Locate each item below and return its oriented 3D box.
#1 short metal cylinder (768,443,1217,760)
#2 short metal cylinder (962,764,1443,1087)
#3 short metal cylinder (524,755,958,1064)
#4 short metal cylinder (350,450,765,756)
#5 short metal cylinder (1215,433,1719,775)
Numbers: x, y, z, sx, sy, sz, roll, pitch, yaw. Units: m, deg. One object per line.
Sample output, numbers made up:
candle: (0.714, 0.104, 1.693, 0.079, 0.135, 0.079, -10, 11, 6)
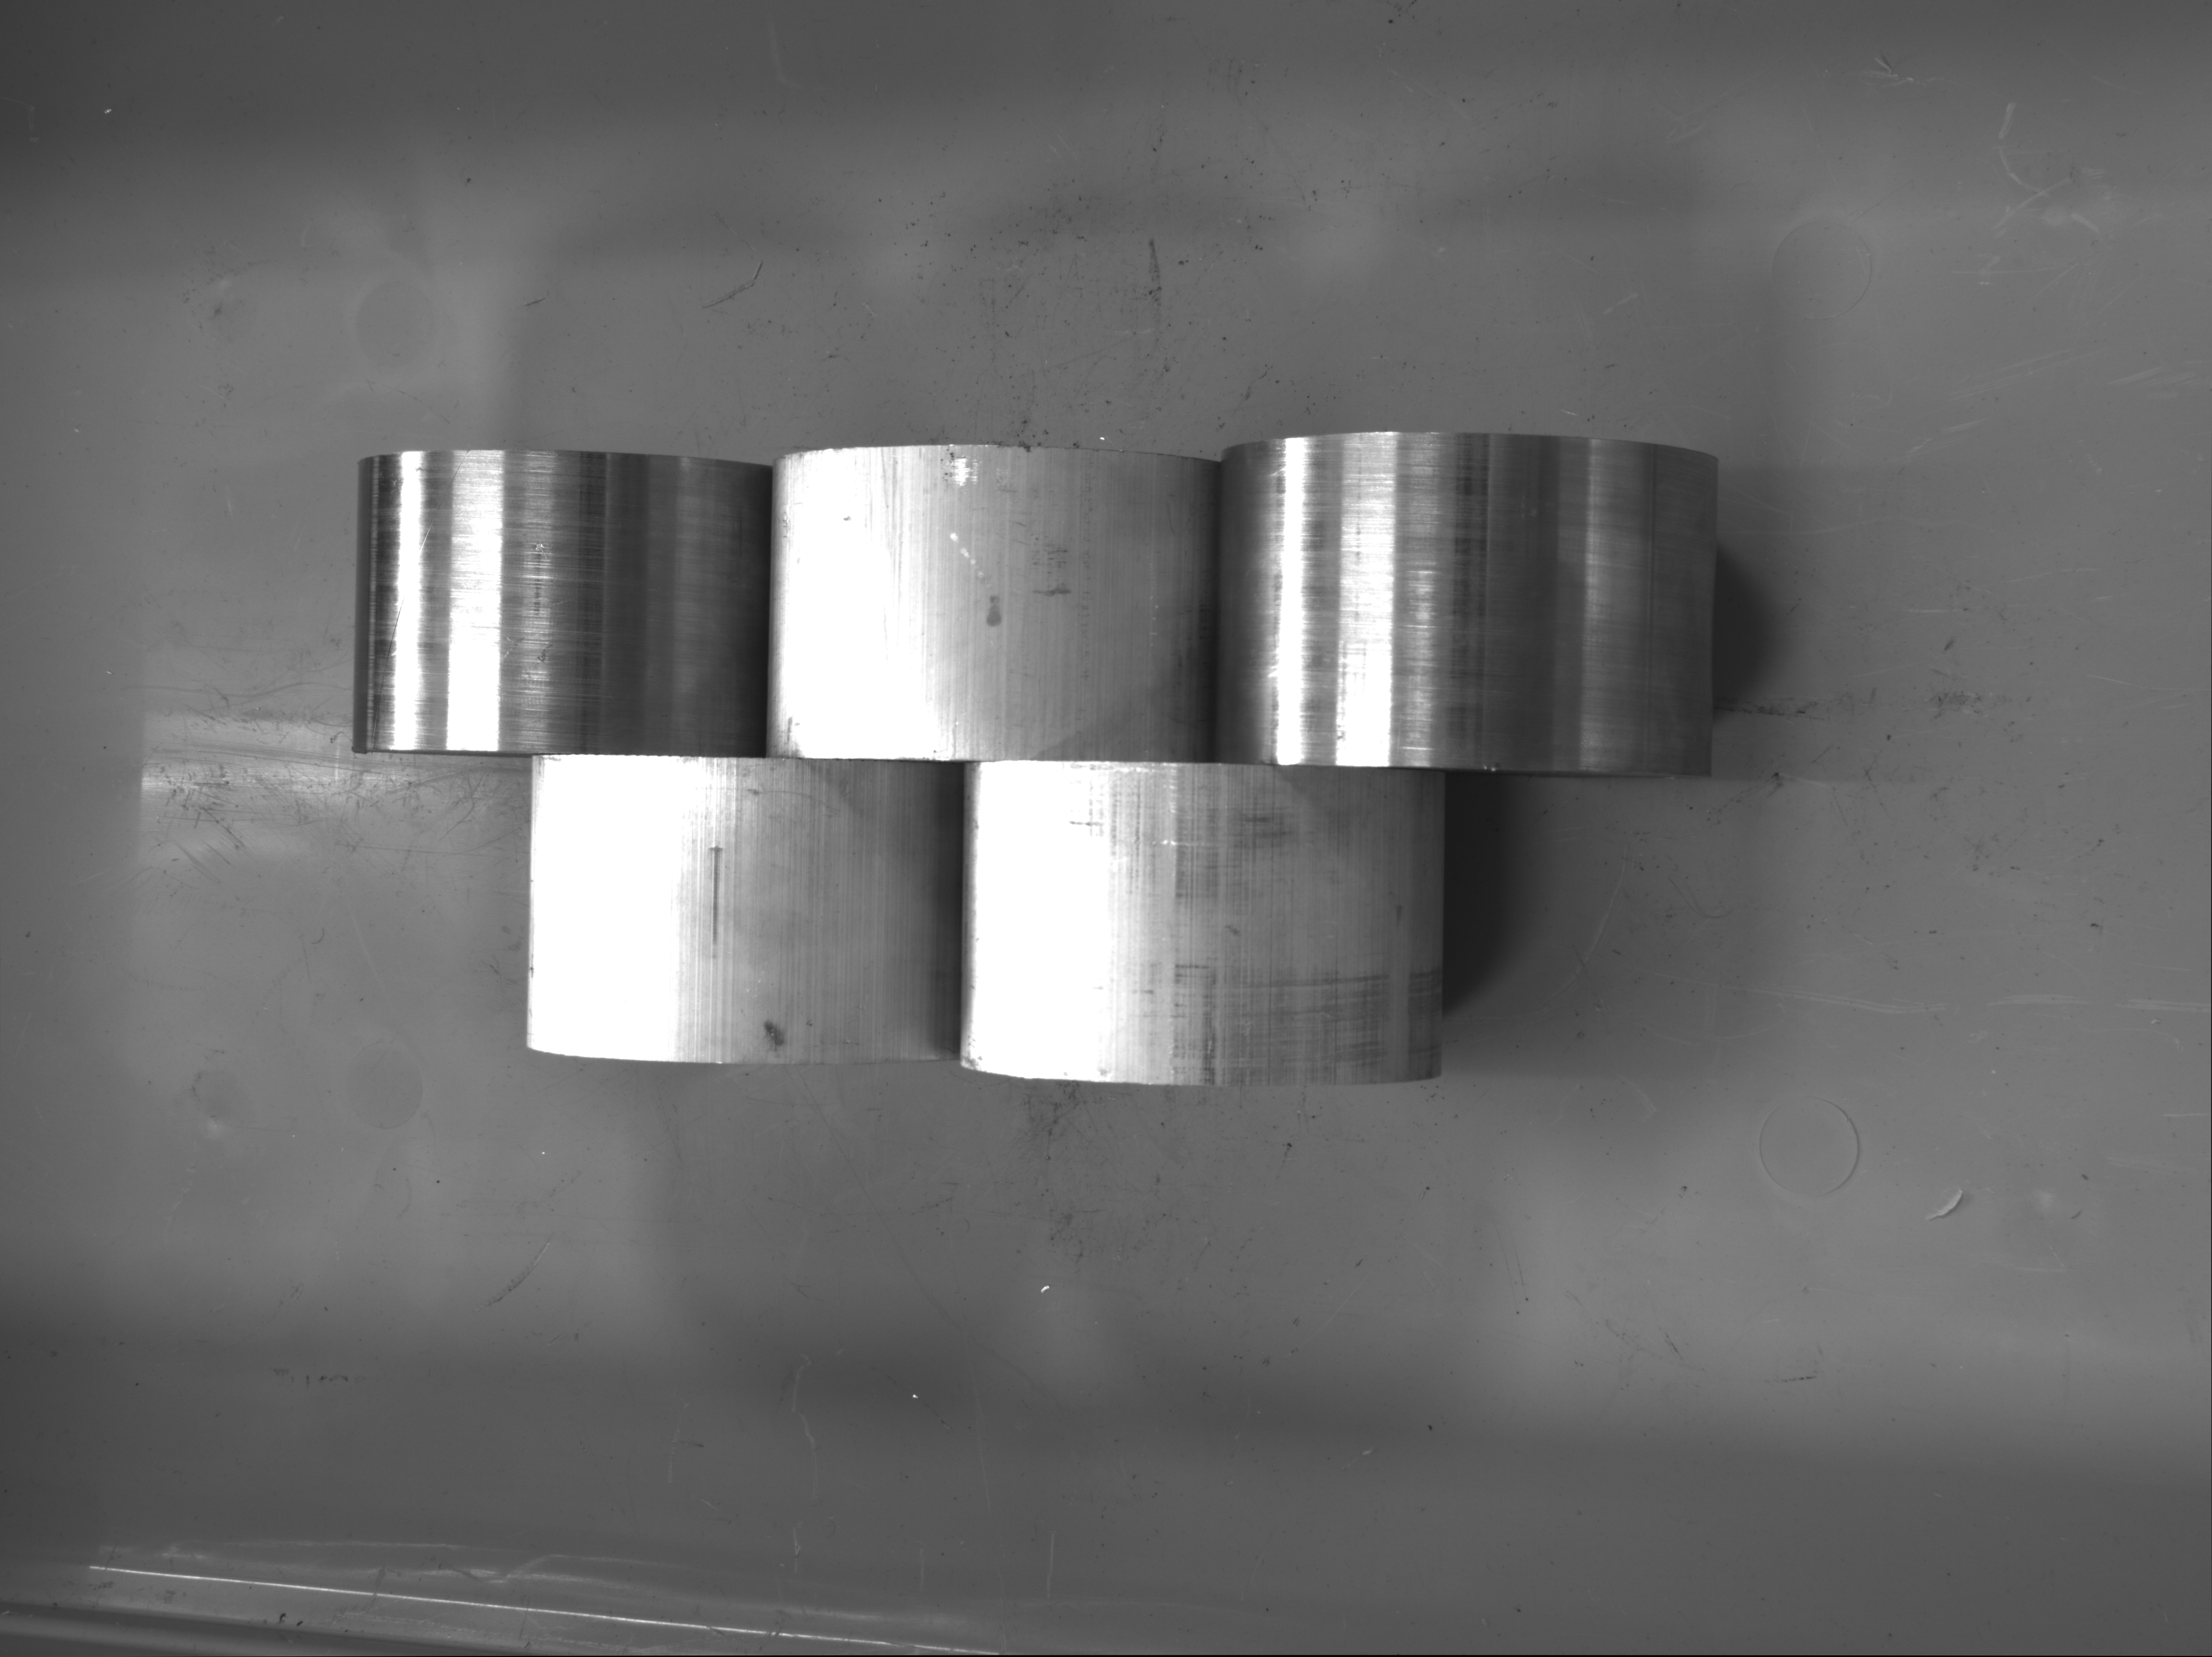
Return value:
short metal cylinder: (-0.017, -0.036, 0.622, 0.080, 0.080, 0.050, 1, 90, 20)
short metal cylinder: (0.016, 0.015, 0.610, 0.080, 0.080, 0.050, 1, 90, 20)
short metal cylinder: (-0.060, 0.013, 0.637, 0.080, 0.080, 0.050, 1, 90, 20)
short metal cylinder: (-0.093, -0.038, 0.649, 0.080, 0.080, 0.050, 1, 90, 20)
short metal cylinder: (0.058, -0.035, 0.594, 0.080, 0.080, 0.050, 2, 91, 20)
